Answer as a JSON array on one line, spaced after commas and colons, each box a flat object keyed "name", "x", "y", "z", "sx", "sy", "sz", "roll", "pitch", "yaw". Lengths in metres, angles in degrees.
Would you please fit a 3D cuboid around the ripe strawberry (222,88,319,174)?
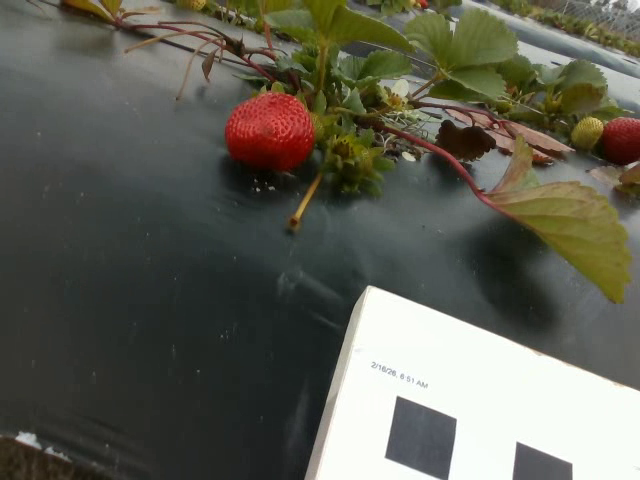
[{"name": "ripe strawberry", "x": -0.007, "y": -0.015, "z": 0.084, "sx": 0.018, "sy": 0.014, "sz": 0.017, "roll": 31, "pitch": 13, "yaw": -6}]
